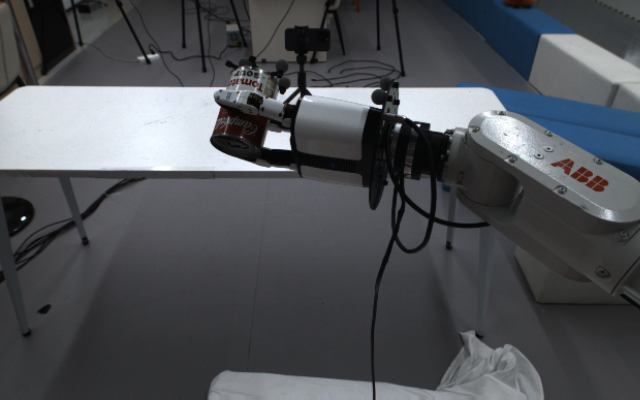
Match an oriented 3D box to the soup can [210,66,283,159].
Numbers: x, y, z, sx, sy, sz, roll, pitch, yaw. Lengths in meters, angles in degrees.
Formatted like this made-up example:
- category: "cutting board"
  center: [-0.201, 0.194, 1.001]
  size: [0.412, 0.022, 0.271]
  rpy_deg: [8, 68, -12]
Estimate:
- category: "soup can"
  center: [-0.097, -0.113, 0.634]
  size: [0.067, 0.067, 0.101]
  rpy_deg: [9, 72, 10]
